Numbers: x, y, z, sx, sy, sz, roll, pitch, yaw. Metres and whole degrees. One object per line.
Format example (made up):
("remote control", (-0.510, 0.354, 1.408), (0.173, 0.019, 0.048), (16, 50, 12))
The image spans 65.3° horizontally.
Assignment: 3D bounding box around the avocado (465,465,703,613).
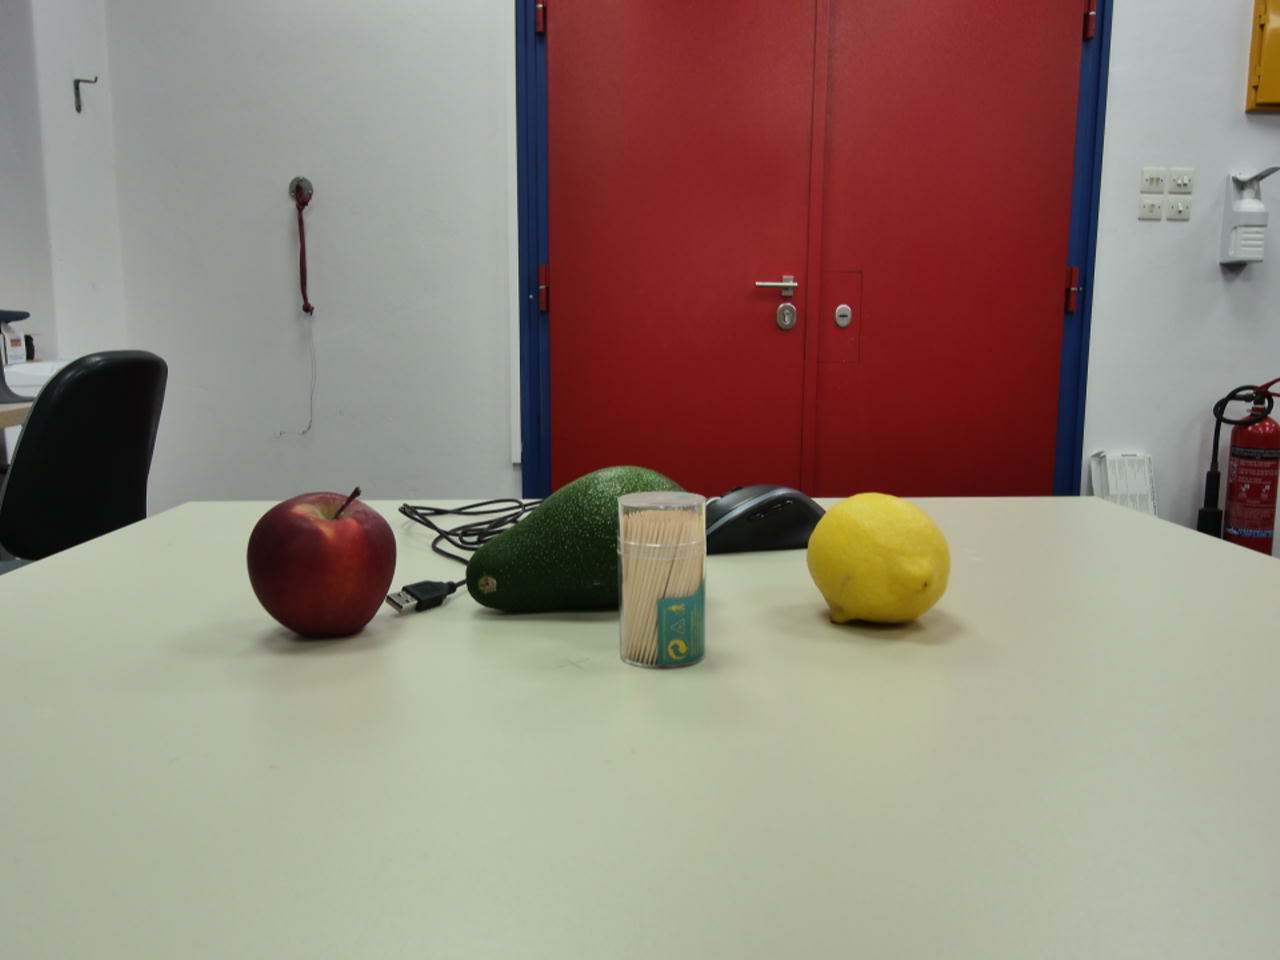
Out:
("avocado", (-0.028, 0.030, 0.539), (0.123, 0.076, 0.074), (0, 6, 5))
